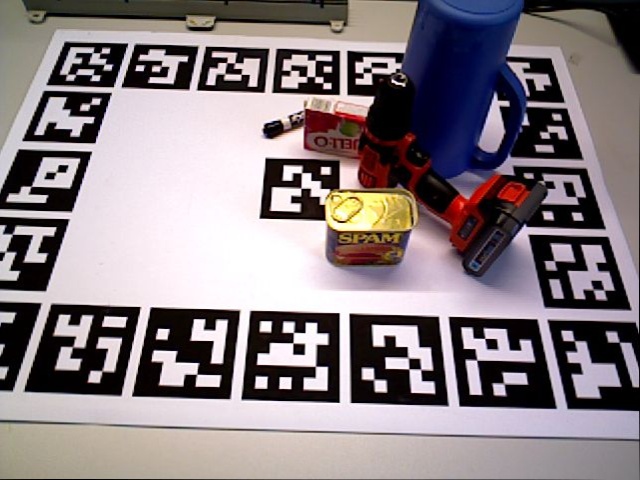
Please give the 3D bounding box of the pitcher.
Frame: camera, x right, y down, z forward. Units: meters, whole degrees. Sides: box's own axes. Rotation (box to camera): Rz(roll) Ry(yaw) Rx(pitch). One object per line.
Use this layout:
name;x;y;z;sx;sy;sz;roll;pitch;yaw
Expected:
pitcher;0.177;-0.184;0.645;0.189;0.246;0.131;28;64;22

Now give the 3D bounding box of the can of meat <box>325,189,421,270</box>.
can of meat;0.055;-0.009;0.619;0.101;0.085;0.057;2;56;-2

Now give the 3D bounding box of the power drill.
power drill;0.126;-0.086;0.612;0.187;0.188;0.056;35;65;12

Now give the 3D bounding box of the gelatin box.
gelatin box;0.030;-0.143;0.710;0.089;0.074;0.030;12;62;4

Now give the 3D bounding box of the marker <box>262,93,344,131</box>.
marker;-0.024;-0.178;0.758;0.119;0.020;0.019;-22;62;-13
